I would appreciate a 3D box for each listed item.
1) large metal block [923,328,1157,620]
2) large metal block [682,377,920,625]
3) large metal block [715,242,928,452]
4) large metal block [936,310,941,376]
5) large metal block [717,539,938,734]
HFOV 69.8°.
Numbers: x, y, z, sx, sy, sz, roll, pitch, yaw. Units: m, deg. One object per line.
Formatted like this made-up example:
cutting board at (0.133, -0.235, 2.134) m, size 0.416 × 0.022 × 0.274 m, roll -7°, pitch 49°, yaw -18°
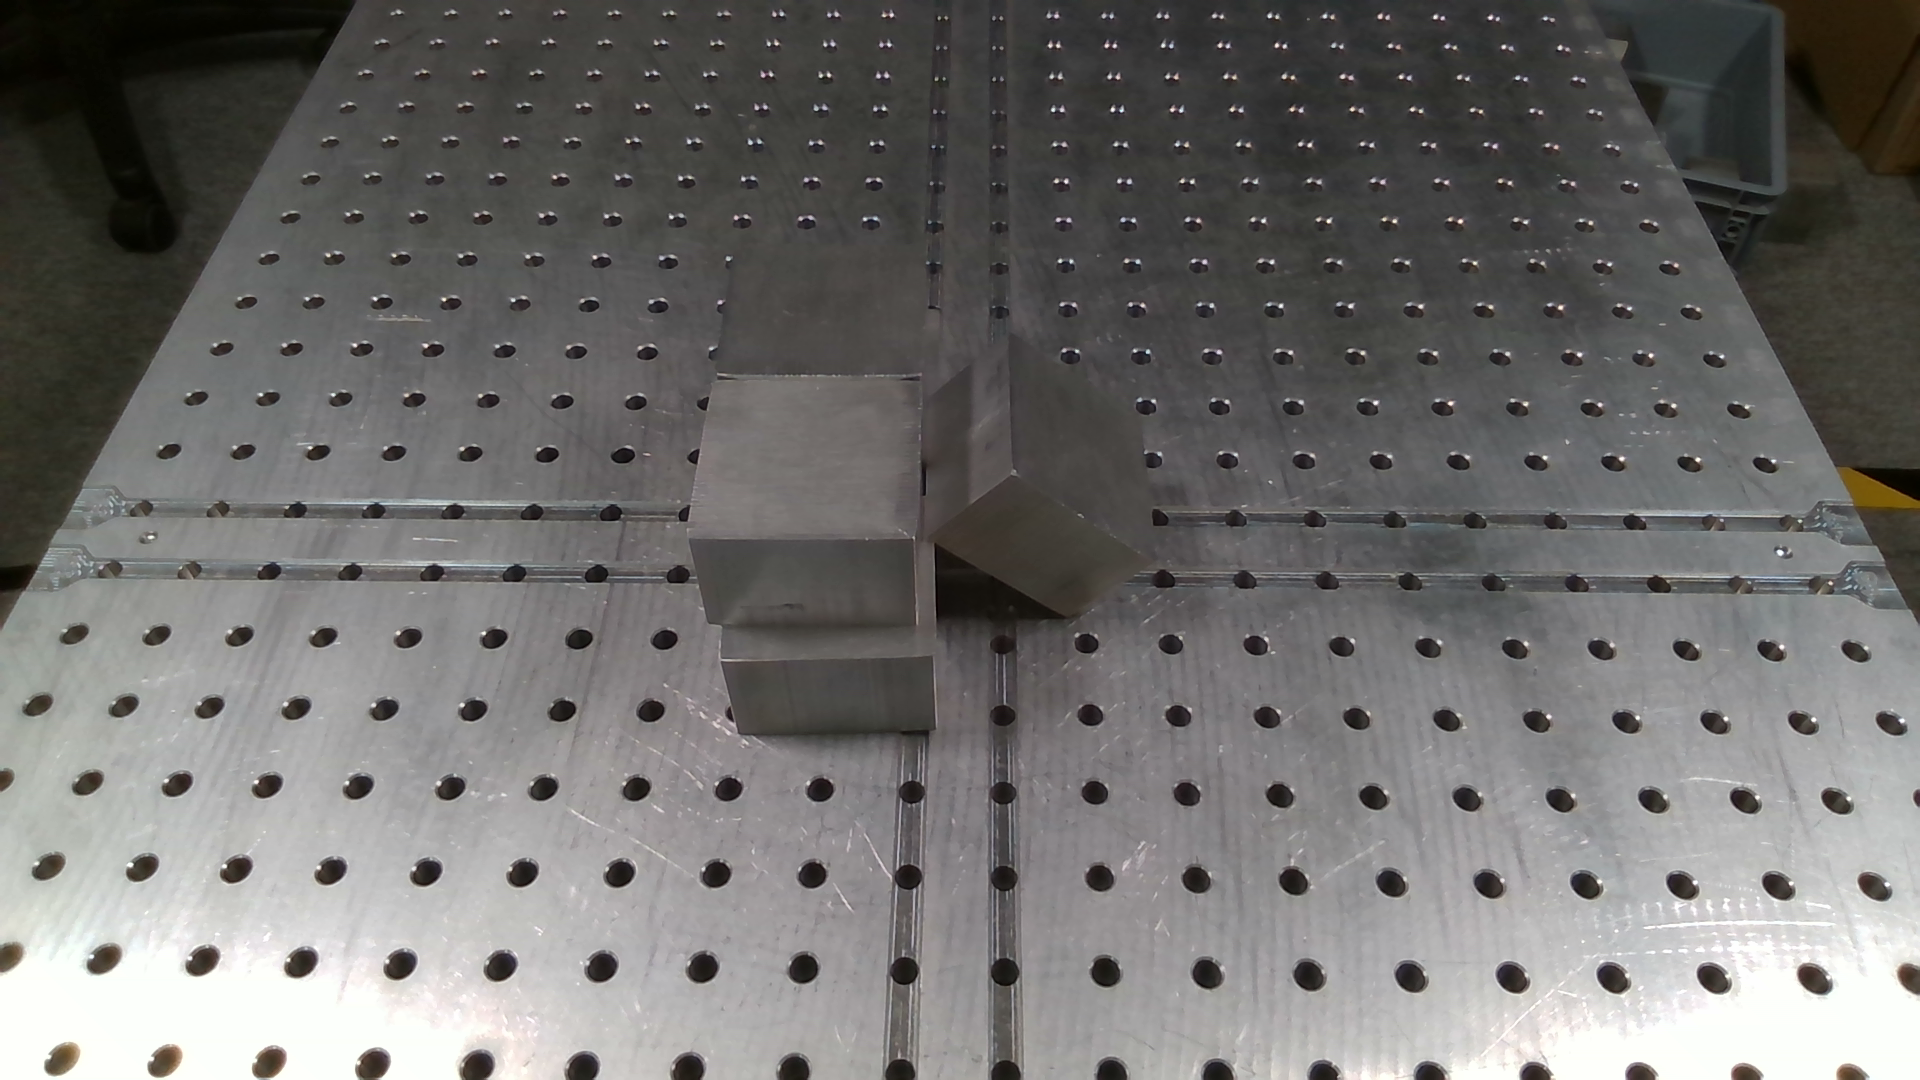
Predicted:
large metal block at (0.032, -0.026, 0.569) m, size 0.080 × 0.050 × 0.080 m, roll 30°, pitch 42°, yaw -31°
large metal block at (-0.056, -0.015, 0.519) m, size 0.080 × 0.050 × 0.080 m, roll 0°, pitch 50°, yaw 0°
large metal block at (-0.054, -0.078, 0.570) m, size 0.080 × 0.050 × 0.080 m, roll 0°, pitch 50°, yaw 0°
large metal block at (-0.050, -0.059, 0.624) m, size 0.080 × 0.050 × 0.080 m, roll 1°, pitch 50°, yaw 1°
large metal block at (-0.050, 0.029, 0.549) m, size 0.080 × 0.050 × 0.080 m, roll -1°, pitch 50°, yaw -1°
